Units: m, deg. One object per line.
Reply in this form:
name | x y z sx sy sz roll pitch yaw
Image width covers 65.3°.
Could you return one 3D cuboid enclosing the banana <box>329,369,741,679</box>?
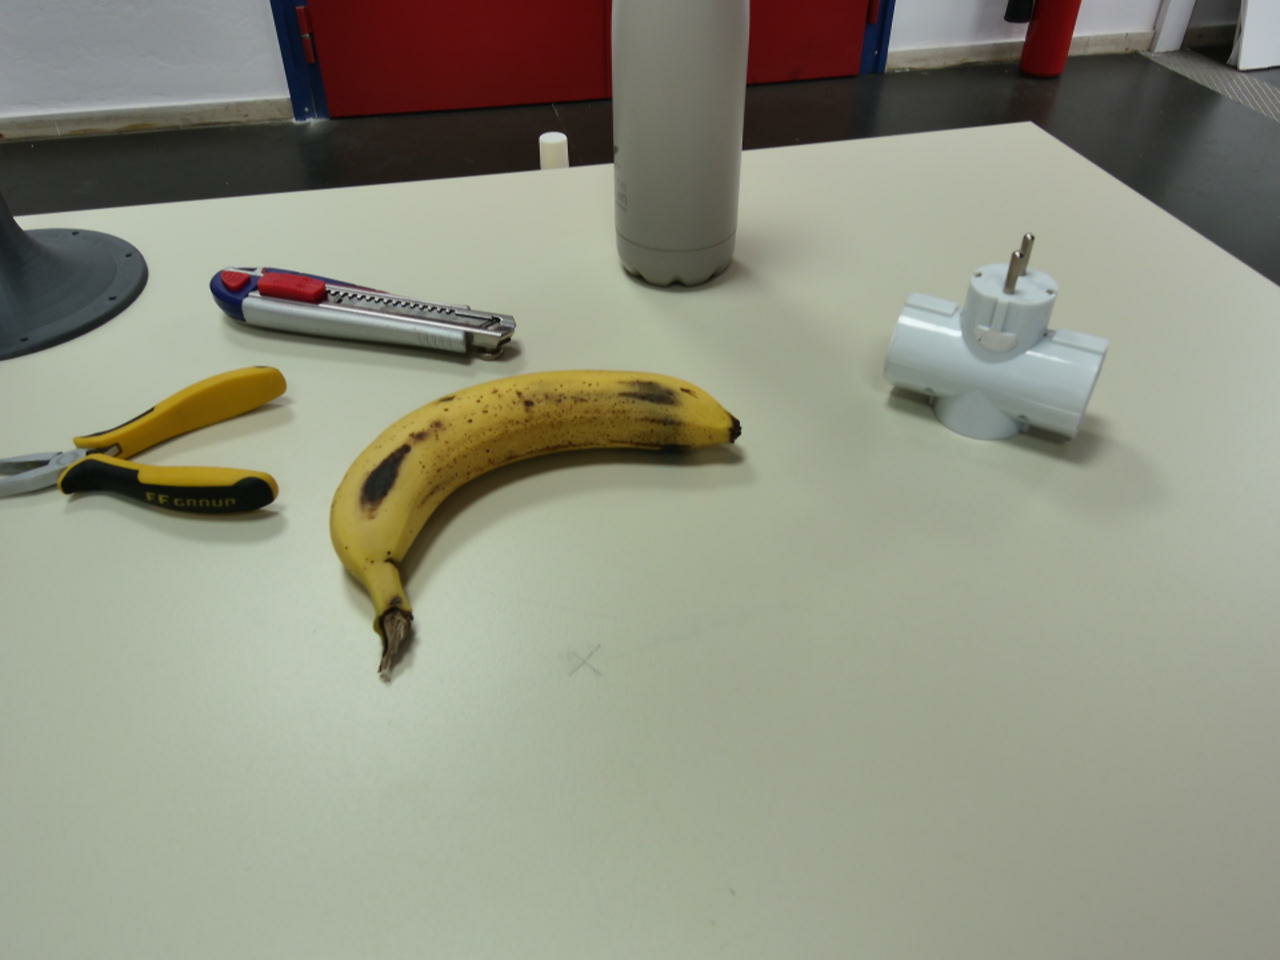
banana | -0.052 -0.008 0.430 0.186 0.038 0.097 -28 46 -32
